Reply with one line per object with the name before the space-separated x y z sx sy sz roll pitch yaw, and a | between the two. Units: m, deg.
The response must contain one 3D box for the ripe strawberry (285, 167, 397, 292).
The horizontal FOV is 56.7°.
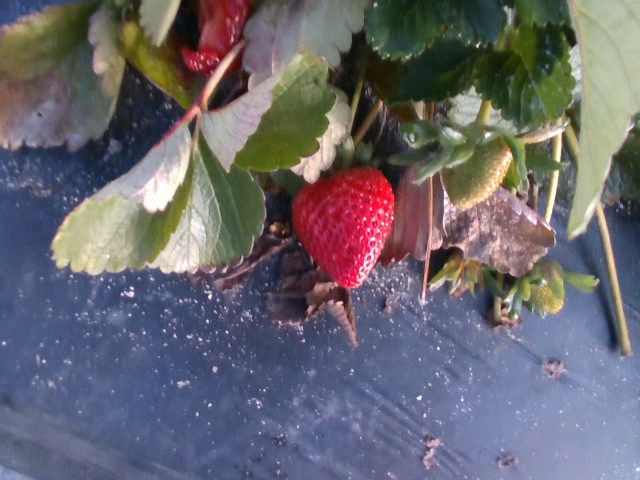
ripe strawberry | 0.005 -0.002 0.148 0.031 0.030 0.026 -4 -9 -1
